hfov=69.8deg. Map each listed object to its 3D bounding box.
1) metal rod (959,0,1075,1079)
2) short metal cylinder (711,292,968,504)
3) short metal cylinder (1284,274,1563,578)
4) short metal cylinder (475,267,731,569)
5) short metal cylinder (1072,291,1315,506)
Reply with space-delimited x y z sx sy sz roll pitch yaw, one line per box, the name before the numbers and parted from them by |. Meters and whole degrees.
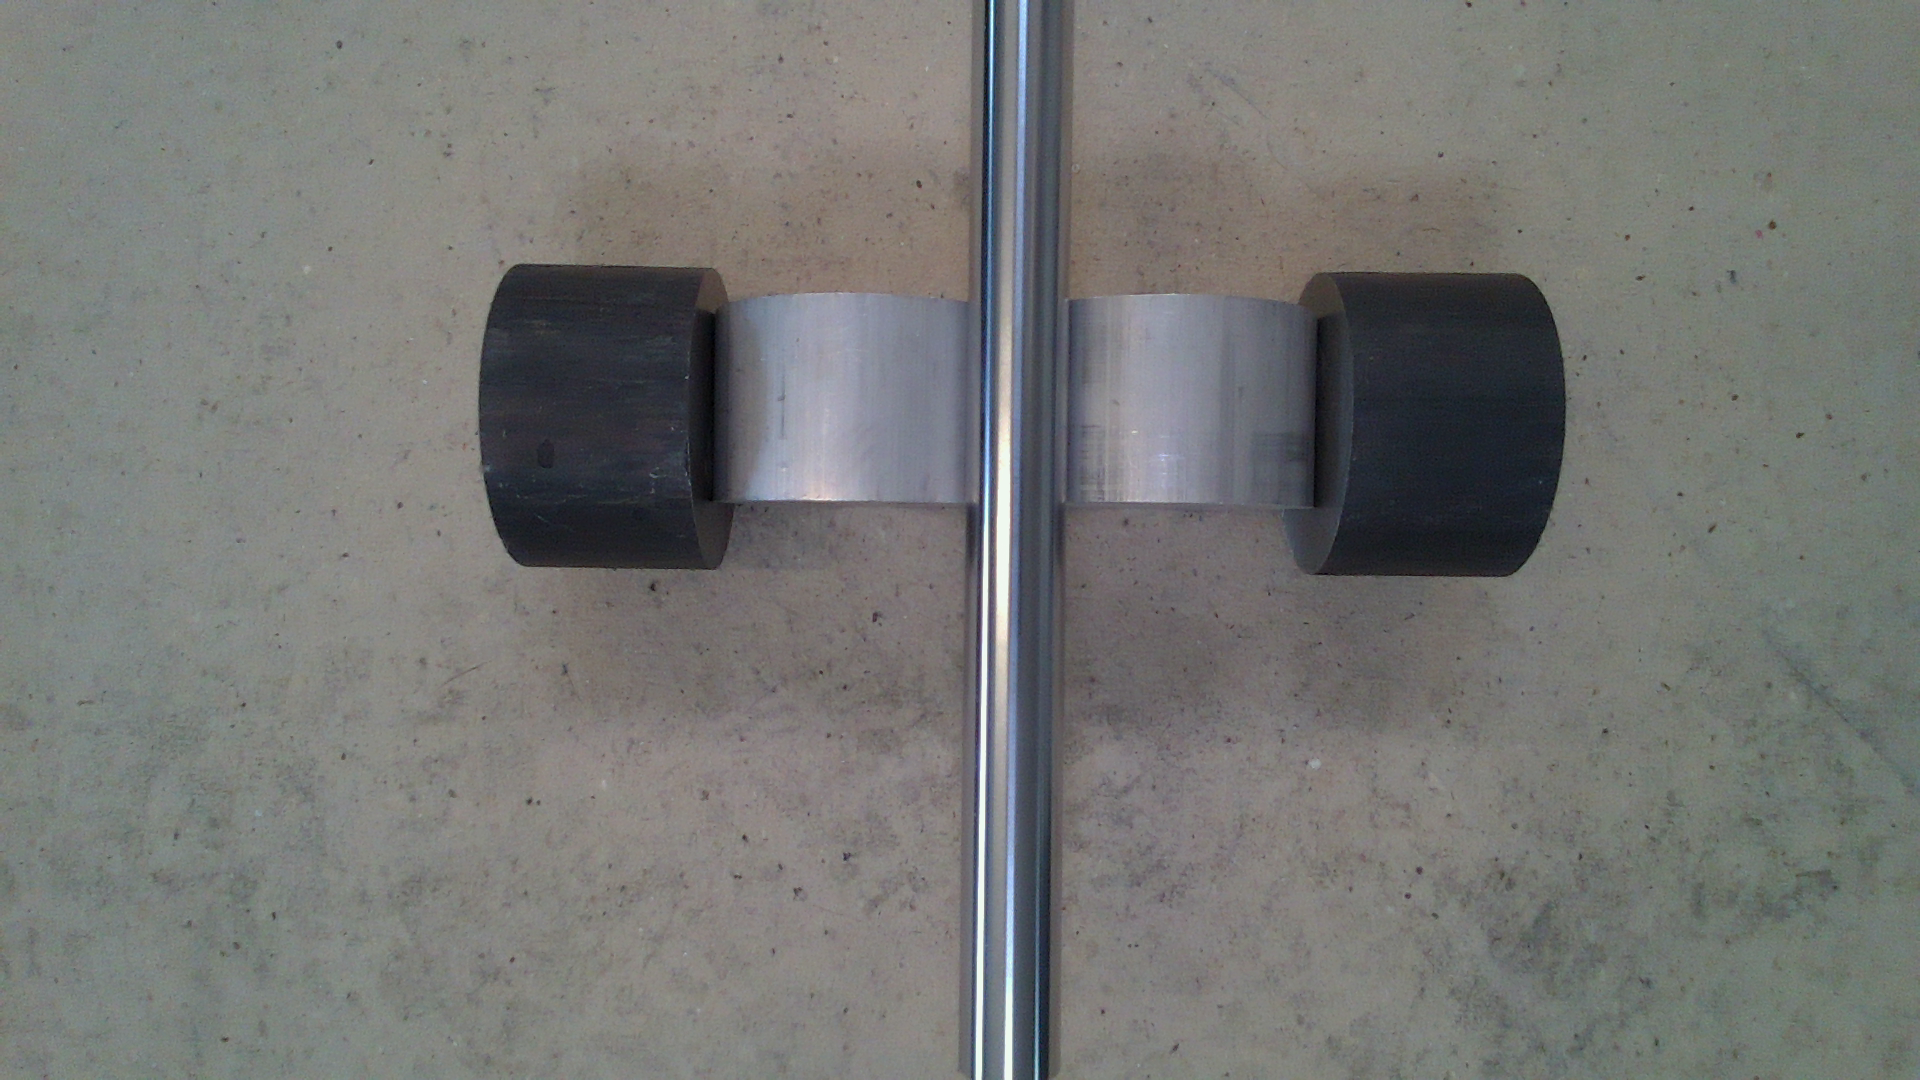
metal rod | 0.014 -0.021 0.334 0.025 0.025 0.300 1 90 0
short metal cylinder | -0.026 -0.034 0.368 0.080 0.080 0.050 1 90 0
short metal cylinder | 0.119 -0.030 0.369 0.050 0.080 0.080 1 90 0
short metal cylinder | -0.090 -0.033 0.368 0.050 0.080 0.080 1 90 0
short metal cylinder | 0.054 -0.034 0.368 0.080 0.080 0.050 1 90 0
